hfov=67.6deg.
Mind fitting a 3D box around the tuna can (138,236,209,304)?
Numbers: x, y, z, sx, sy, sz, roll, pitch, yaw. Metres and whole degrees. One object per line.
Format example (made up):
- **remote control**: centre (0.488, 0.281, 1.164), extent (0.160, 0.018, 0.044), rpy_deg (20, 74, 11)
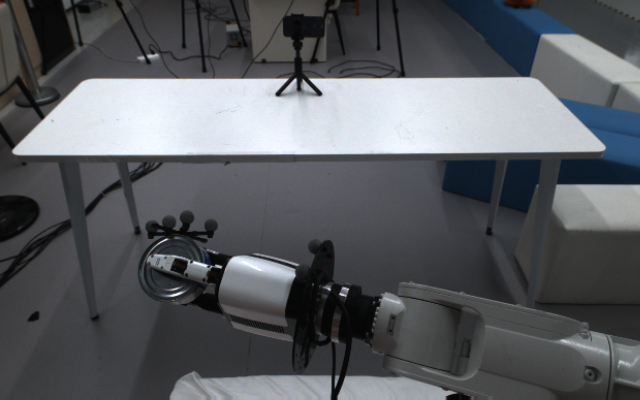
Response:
- **tuna can**: centre (-0.177, 0.091, 0.614), extent (0.085, 0.034, 0.085), rpy_deg (-2, 69, 6)
